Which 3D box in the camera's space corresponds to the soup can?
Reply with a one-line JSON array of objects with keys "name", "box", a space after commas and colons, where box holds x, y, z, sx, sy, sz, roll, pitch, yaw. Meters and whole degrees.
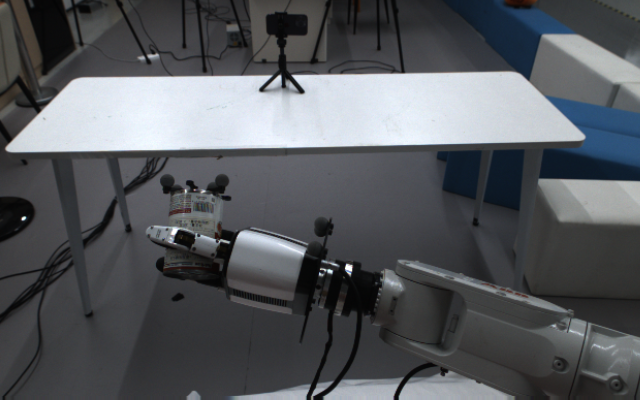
[{"name": "soup can", "box": [-0.156, 0.046, 0.601, 0.067, 0.067, 0.101, 1, 72, -2]}]
